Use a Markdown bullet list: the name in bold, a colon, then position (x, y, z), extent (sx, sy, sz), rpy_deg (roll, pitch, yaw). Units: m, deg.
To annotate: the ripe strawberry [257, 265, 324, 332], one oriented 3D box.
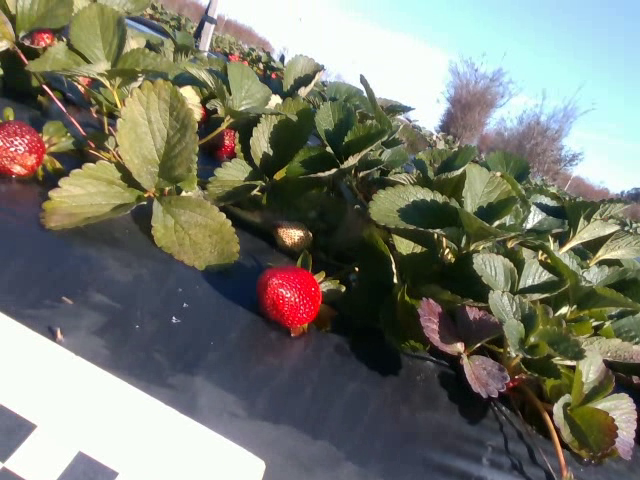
- **ripe strawberry**: position (-0.021, 0.032, 0.349), extent (0.043, 0.043, 0.050), rpy_deg (-38, -27, 7)
